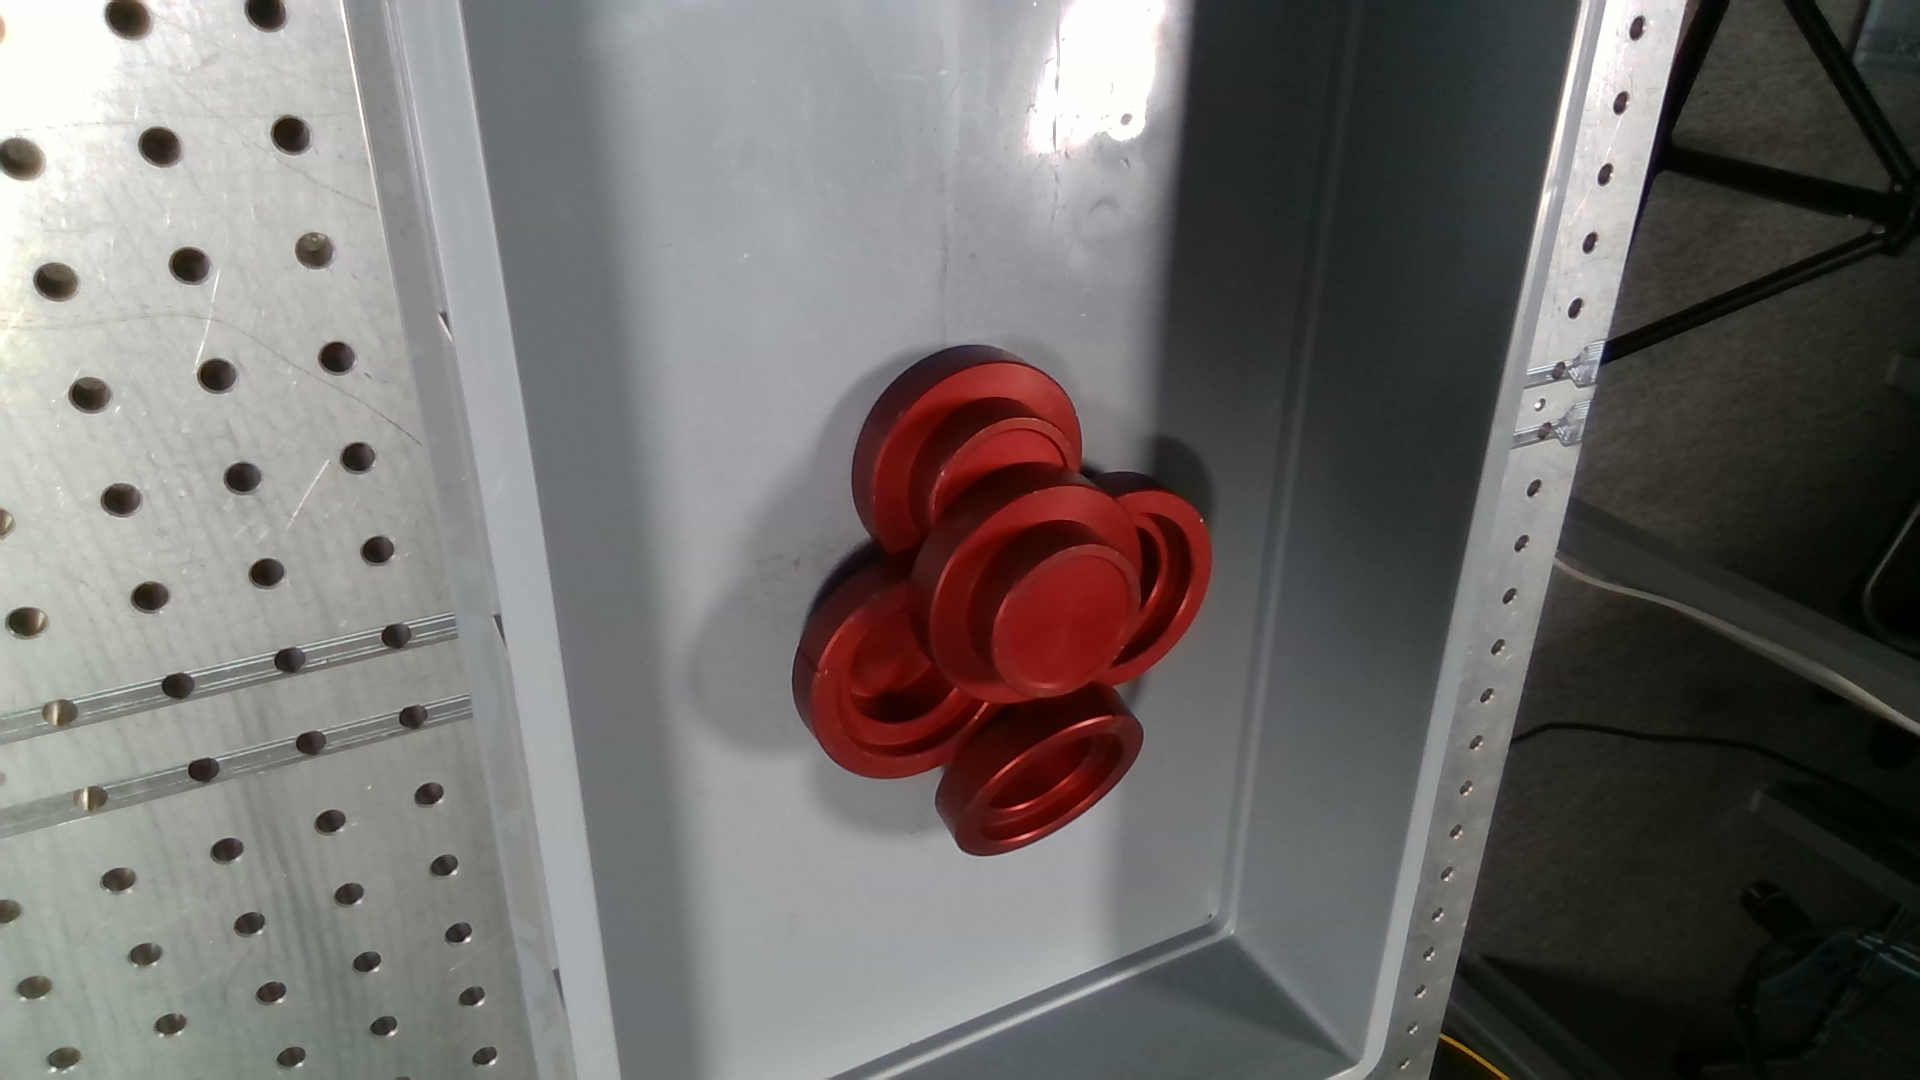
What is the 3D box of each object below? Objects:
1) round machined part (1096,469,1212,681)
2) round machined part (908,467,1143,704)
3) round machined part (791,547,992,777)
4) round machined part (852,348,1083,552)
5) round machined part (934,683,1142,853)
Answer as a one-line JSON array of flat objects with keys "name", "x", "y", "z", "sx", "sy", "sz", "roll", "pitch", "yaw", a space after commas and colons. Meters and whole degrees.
[{"name": "round machined part", "x": 0.060, "y": 0.013, "z": 0.613, "sx": 0.098, "sy": 0.042, "sz": 0.098, "roll": -14, "pitch": 122, "yaw": -25}, {"name": "round machined part", "x": 0.032, "y": 0.023, "z": 0.544, "sx": 0.098, "sy": 0.042, "sz": 0.098, "roll": -14, "pitch": 122, "yaw": -25}, {"name": "round machined part", "x": -0.026, "y": 0.047, "z": 0.577, "sx": 0.098, "sy": 0.042, "sz": 0.098, "roll": -14, "pitch": 122, "yaw": -25}, {"name": "round machined part", "x": 0.009, "y": -0.026, "z": 0.557, "sx": 0.098, "sy": 0.042, "sz": 0.098, "roll": -14, "pitch": 122, "yaw": -25}, {"name": "round machined part", "x": 0.031, "y": 0.095, "z": 0.625, "sx": 0.098, "sy": 0.042, "sz": 0.098, "roll": -24, "pitch": 145, "yaw": -18}]
